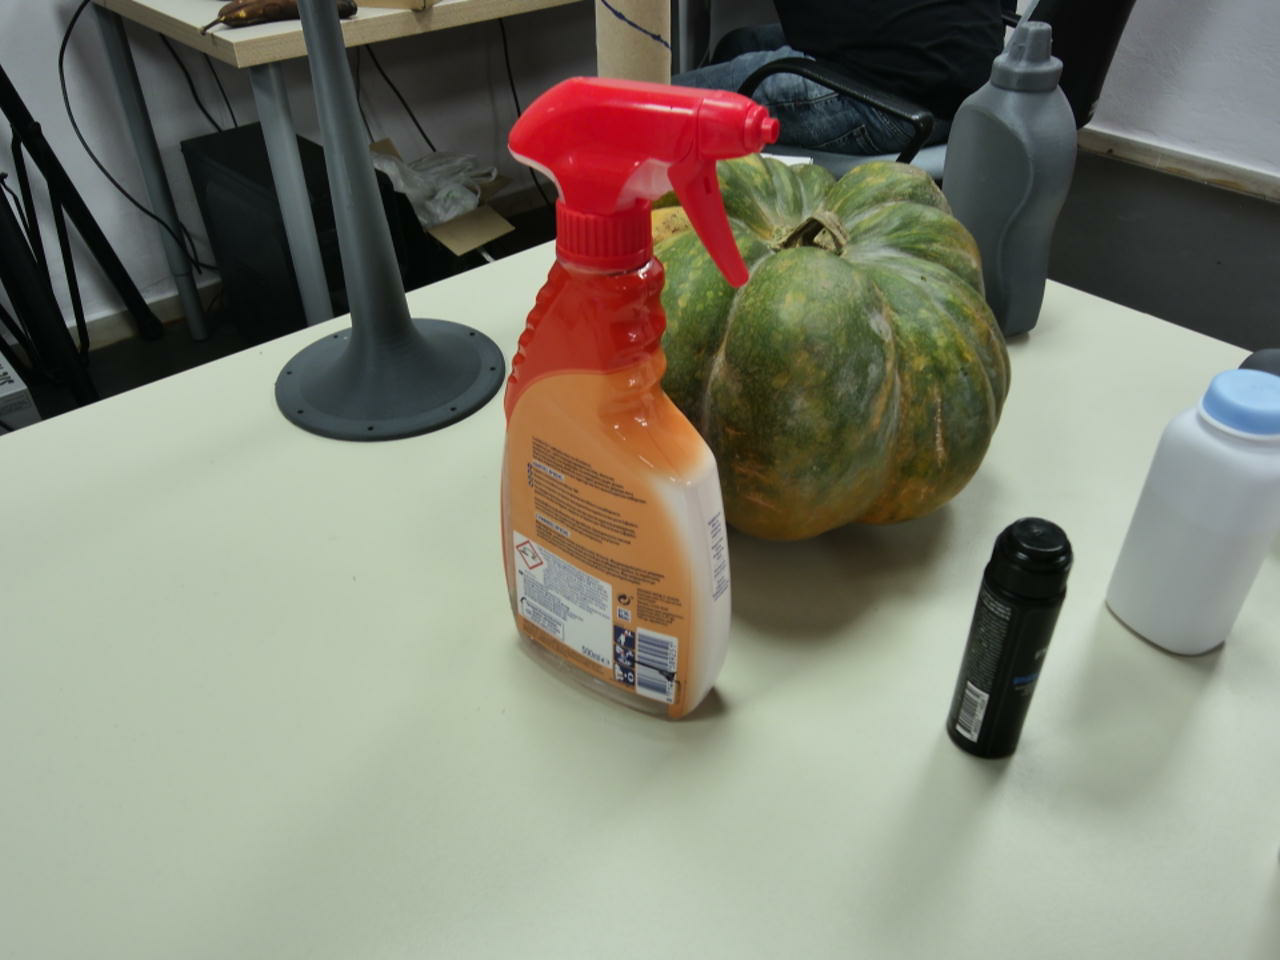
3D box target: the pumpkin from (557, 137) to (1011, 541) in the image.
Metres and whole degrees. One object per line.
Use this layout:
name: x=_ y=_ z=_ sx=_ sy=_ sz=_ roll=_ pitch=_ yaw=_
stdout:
pumpkin: x=0.076 y=-0.081 z=0.536 sx=0.237 sy=0.173 sz=0.270 roll=-2 pitch=36 yaw=-2
